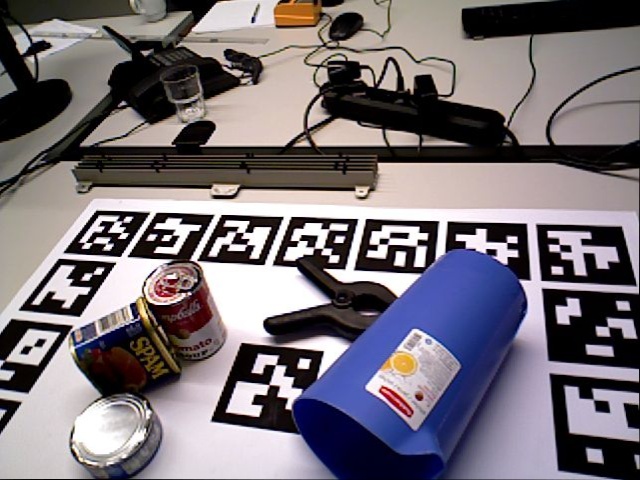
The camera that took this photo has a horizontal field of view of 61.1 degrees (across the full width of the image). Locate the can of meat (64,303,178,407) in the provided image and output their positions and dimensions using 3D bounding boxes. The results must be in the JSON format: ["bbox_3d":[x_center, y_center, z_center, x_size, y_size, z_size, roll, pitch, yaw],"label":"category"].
[{"bbox_3d":[-0.214,0.129,0.590,0.083,0.103,0.057,-25,45,-9],"label":"can of meat"}]

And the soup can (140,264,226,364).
[{"bbox_3d":[-0.155,0.087,0.627,0.068,0.104,0.067,-9,43,7],"label":"soup can"}]

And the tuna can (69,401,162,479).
[{"bbox_3d":[-0.207,0.212,0.555,0.086,0.034,0.084,-7,44,6],"label":"tuna can"}]

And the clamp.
[{"bbox_3d":[0.014,0.083,0.653,0.165,0.037,0.119,6,41,14],"label":"clamp"}]

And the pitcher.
[{"bbox_3d":[0.092,0.116,0.506,0.191,0.135,0.237,-1,31,45],"label":"pitcher"}]
